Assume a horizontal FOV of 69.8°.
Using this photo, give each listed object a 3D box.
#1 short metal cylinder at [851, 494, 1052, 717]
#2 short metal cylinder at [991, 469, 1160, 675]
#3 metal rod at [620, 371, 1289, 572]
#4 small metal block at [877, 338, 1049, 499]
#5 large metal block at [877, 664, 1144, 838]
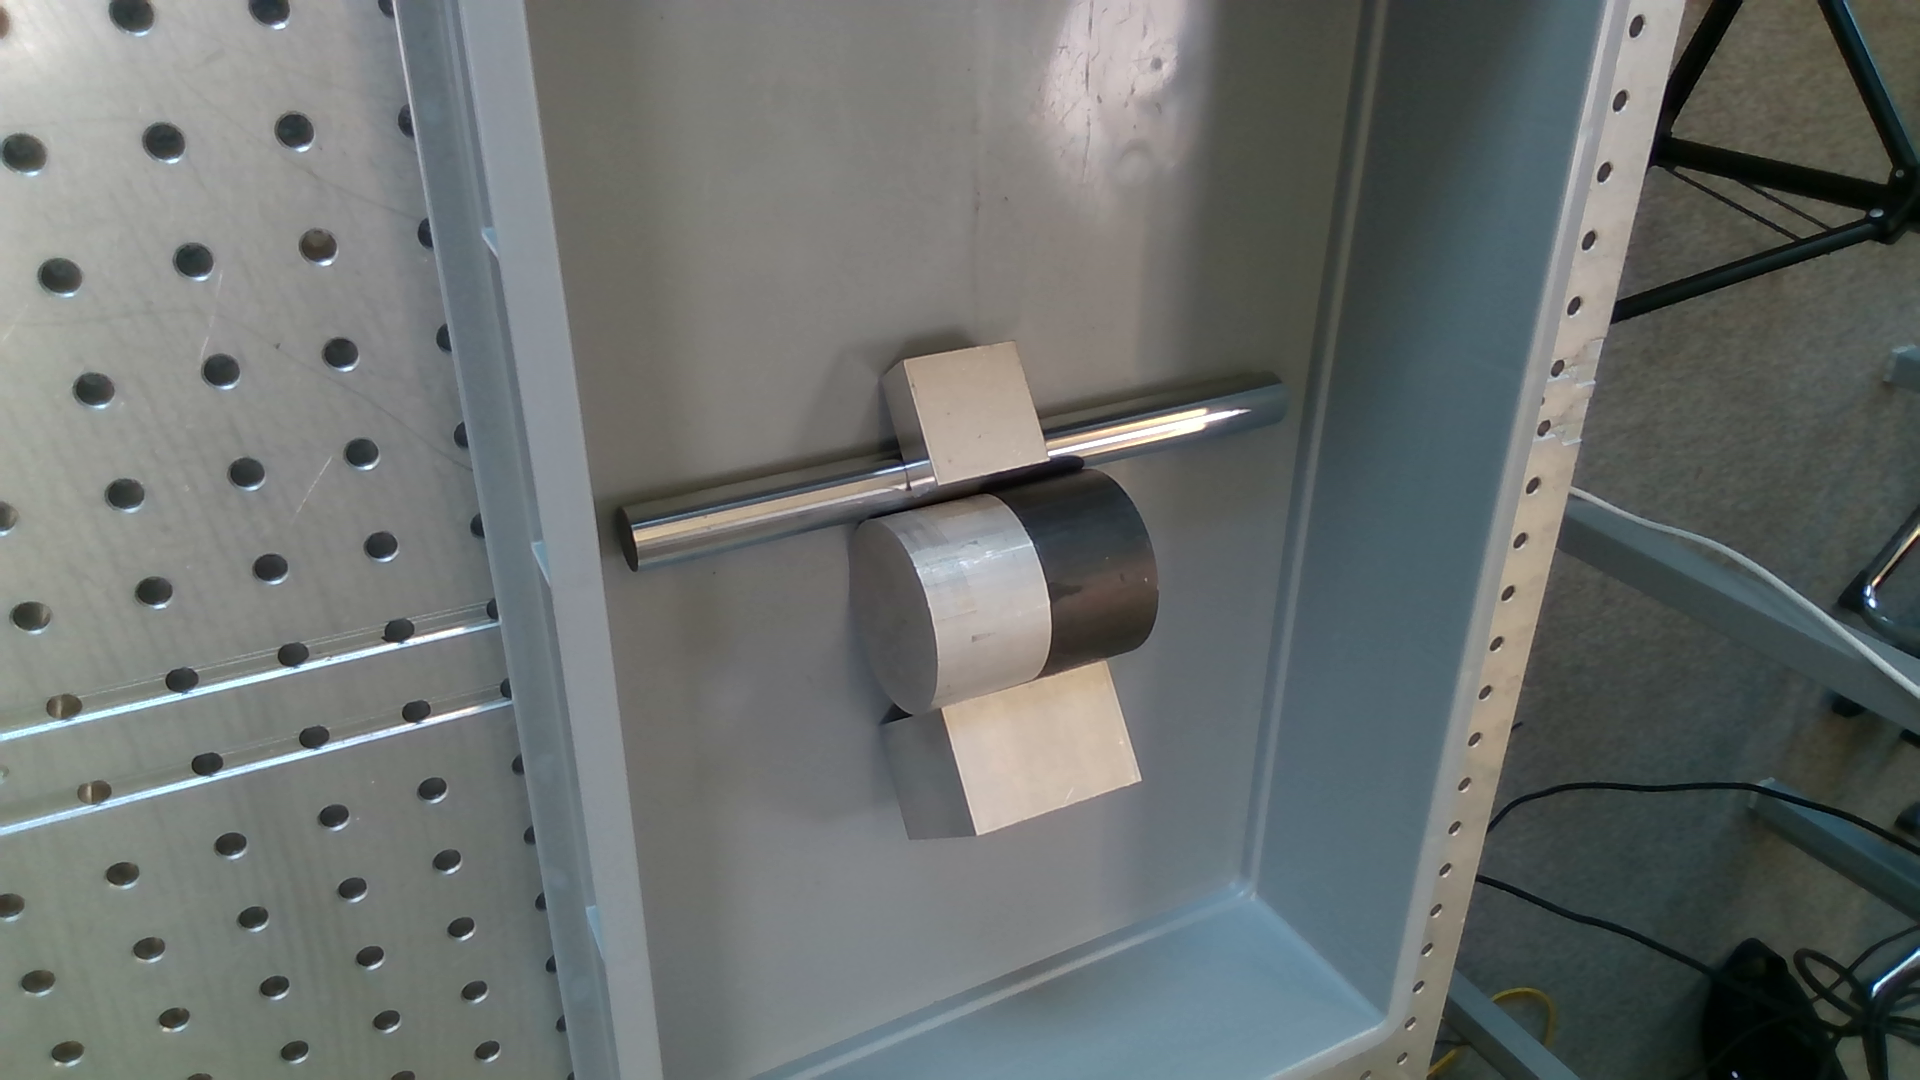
[{"bbox_3d":[-0.005,0.026,0.554,0.050,0.080,0.080,-14,121,-25],"label":"short metal cylinder"},{"bbox_3d":[0.039,0.014,0.576,0.050,0.080,0.080,-14,121,-25],"label":"short metal cylinder"},{"bbox_3d":[0.010,-0.033,0.567,0.300,0.025,0.025,-14,121,-25],"label":"metal rod"},{"bbox_3d":[0.001,-0.048,0.540,0.050,0.025,0.050,-14,87,-26],"label":"small metal block"},{"bbox_3d":[0.019,0.092,0.597,0.080,0.080,0.050,-13,83,-25],"label":"large metal block"}]
